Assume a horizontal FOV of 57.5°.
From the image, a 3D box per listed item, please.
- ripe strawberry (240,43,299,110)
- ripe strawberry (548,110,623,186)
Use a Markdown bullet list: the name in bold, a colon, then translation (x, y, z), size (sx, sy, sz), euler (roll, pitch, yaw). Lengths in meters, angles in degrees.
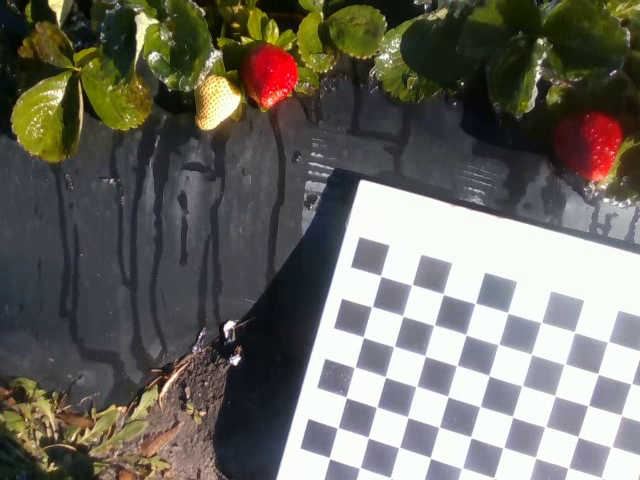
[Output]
- **ripe strawberry**: translation (-0.036, -0.111, 0.424), size (0.042, 0.061, 0.046), euler (1, -40, 6)
- **ripe strawberry**: translation (0.186, -0.062, 0.396), size (0.048, 0.061, 0.044), euler (9, -30, 6)
